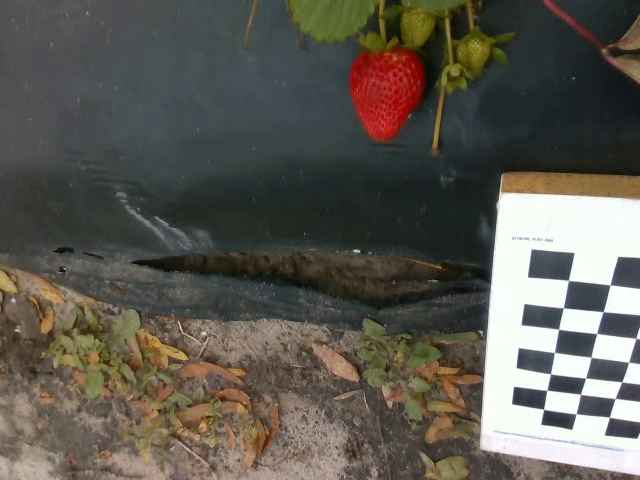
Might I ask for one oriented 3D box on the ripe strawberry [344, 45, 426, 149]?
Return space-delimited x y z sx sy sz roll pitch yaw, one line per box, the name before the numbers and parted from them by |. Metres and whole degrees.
ripe strawberry | 0.010 -0.022 0.093 0.018 0.017 0.014 1 -1 6
